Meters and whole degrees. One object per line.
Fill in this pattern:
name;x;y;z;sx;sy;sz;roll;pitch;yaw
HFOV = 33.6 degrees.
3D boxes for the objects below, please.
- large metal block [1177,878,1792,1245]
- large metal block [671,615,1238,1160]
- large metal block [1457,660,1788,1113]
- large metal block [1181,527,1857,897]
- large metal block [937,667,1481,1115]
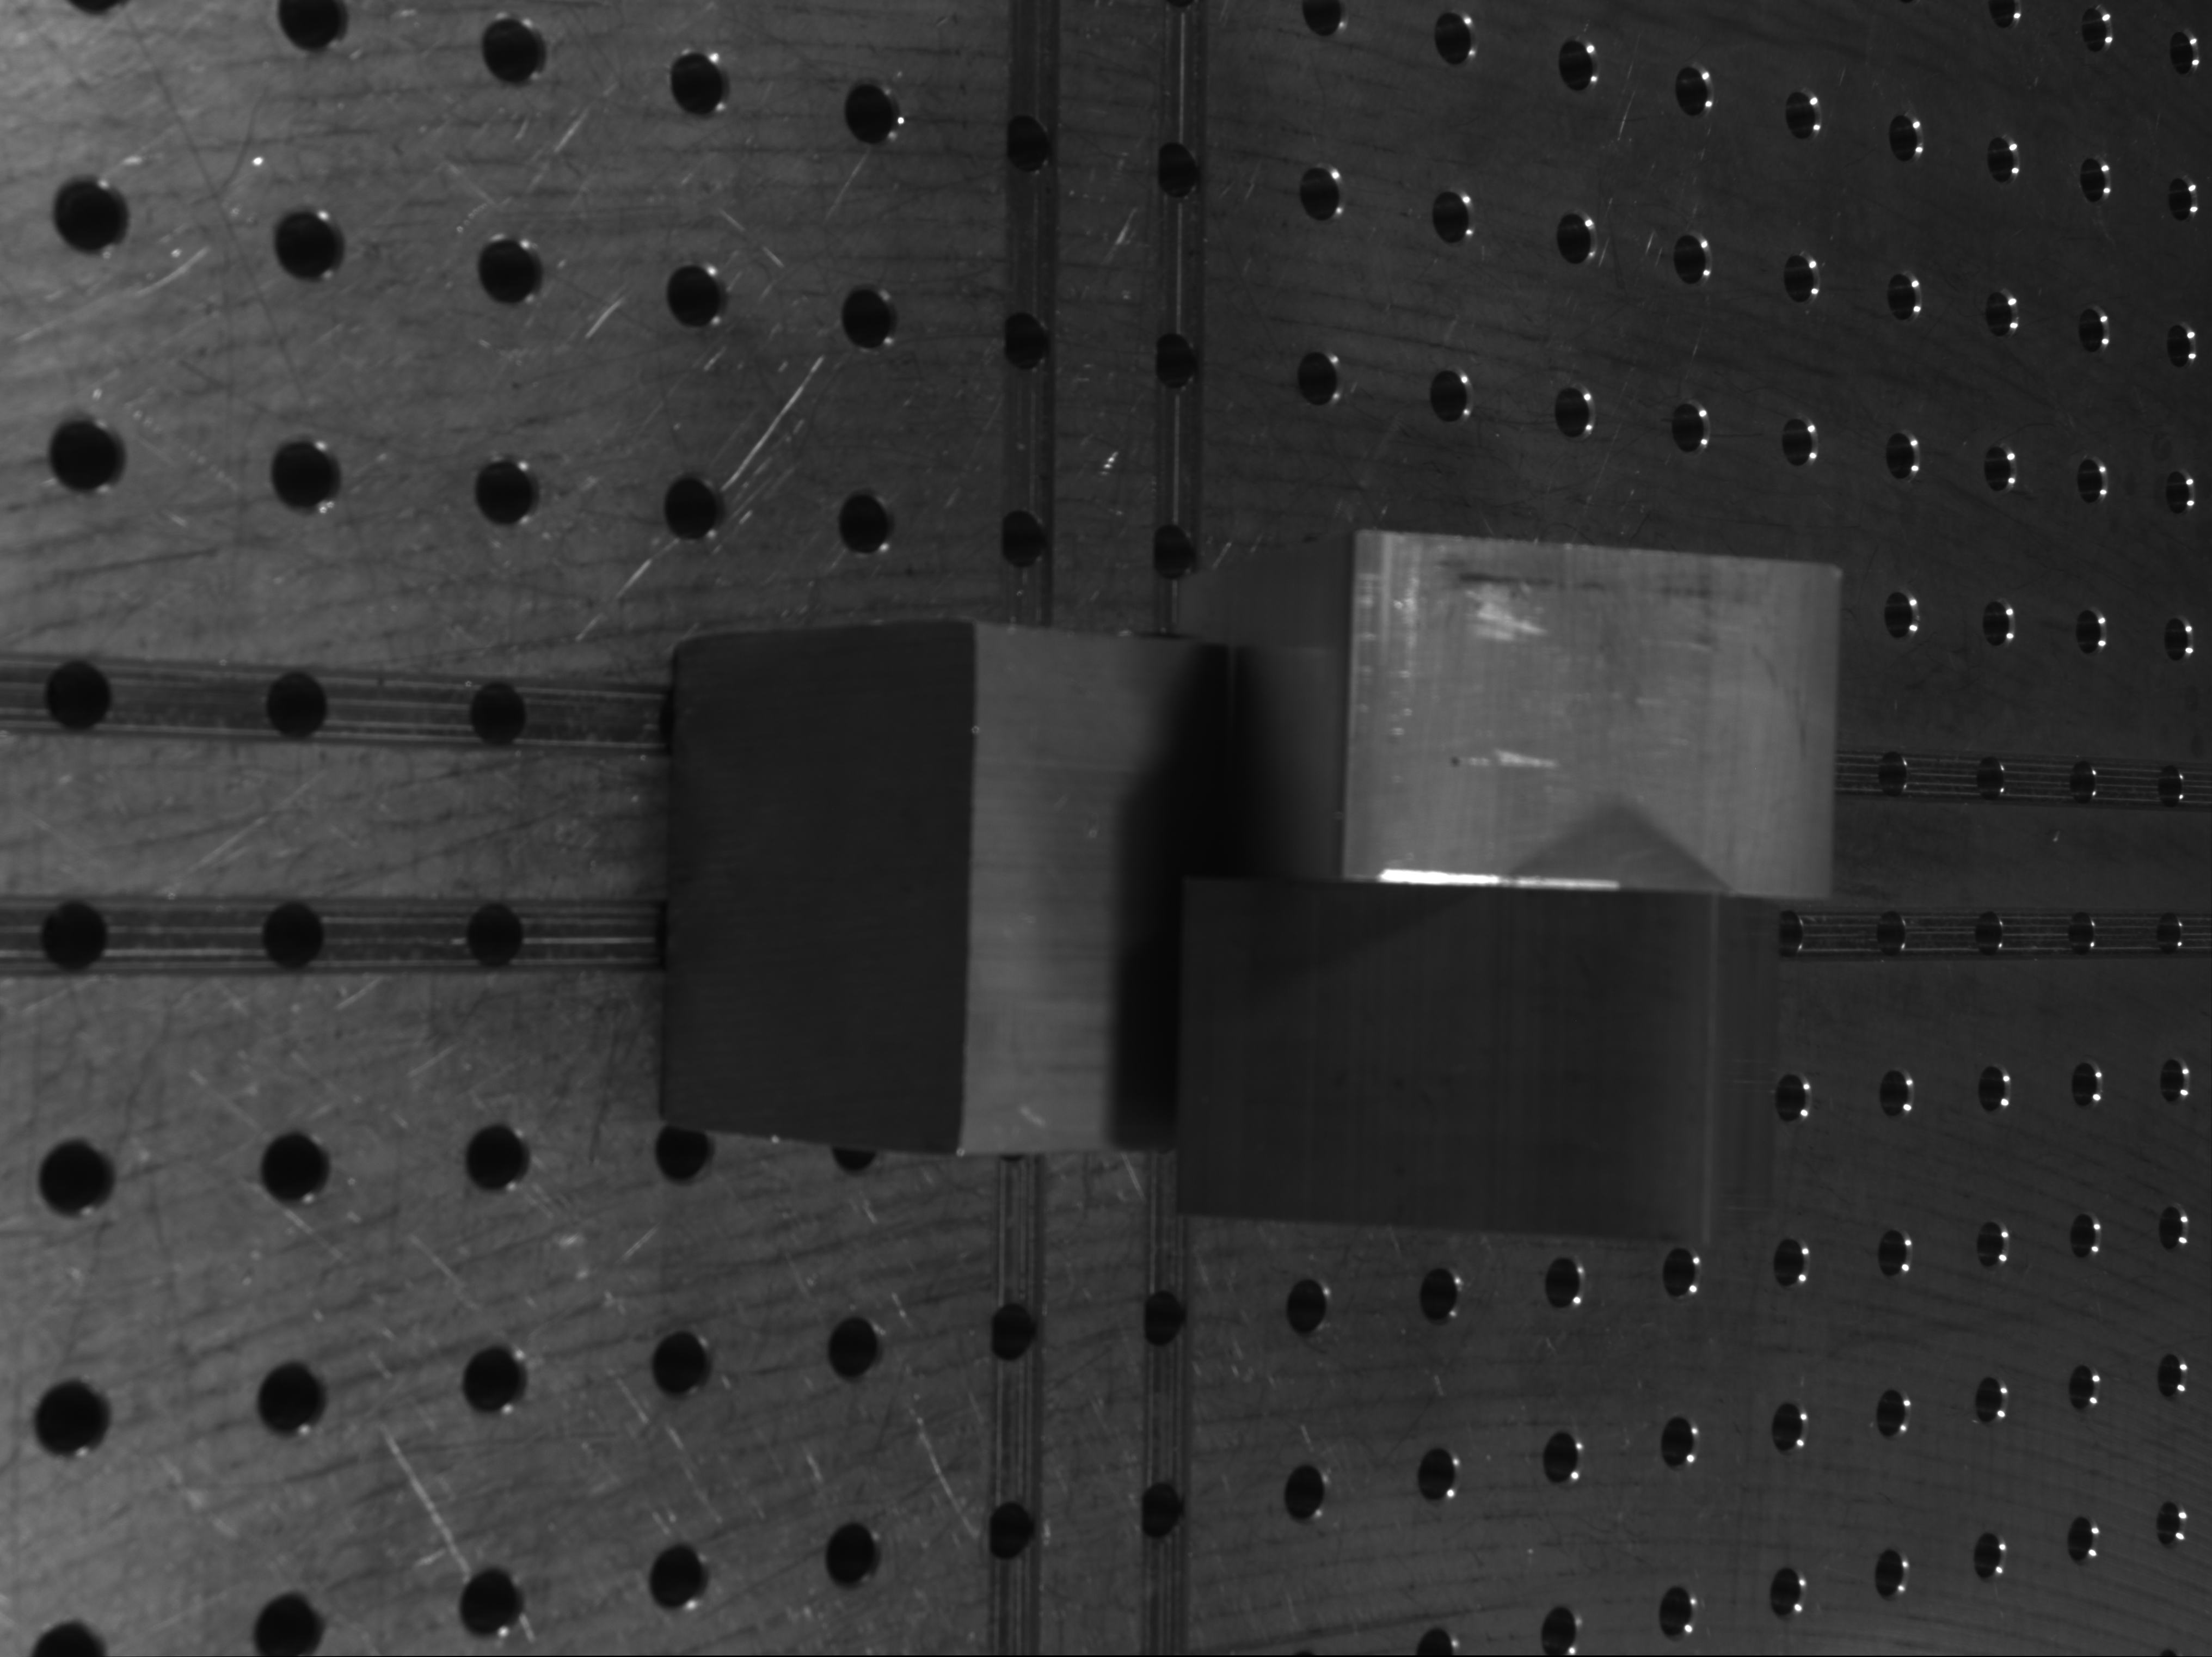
large metal block;0.061;0.035;0.569;0.080;0.080;0.050;9;82;-73
large metal block;-0.025;0.010;0.584;0.050;0.080;0.080;3;88;-40
large metal block;0.076;0.012;0.668;0.050;0.080;0.080;5;87;-40
large metal block;0.062;-0.015;0.573;0.080;0.080;0.050;3;88;-17
large metal block;0.018;0.010;0.636;0.080;0.050;0.080;4;88;-40
